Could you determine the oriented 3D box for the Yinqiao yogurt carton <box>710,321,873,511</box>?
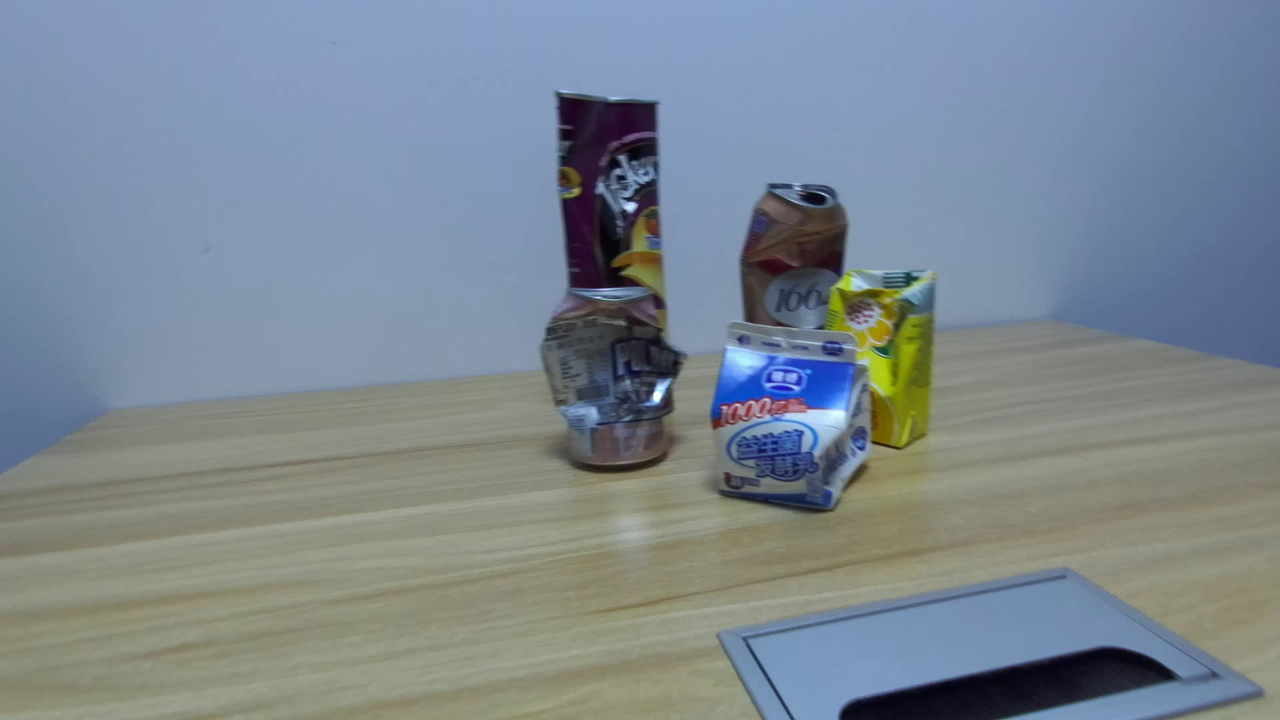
[{"bbox_3d":[0.083,0.025,0.386,0.074,0.097,0.080,4,24,25],"label":"Yinqiao yogurt carton"}]

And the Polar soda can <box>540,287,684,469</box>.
[{"bbox_3d":[-0.014,0.009,0.442,0.070,0.114,0.074,14,24,34],"label":"Polar soda can"}]

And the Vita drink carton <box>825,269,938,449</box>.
[{"bbox_3d":[0.154,-0.003,0.468,0.047,0.109,0.071,-11,16,-44],"label":"Vita drink carton"}]

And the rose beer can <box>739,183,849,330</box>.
[{"bbox_3d":[0.119,-0.050,0.549,0.069,0.168,0.069,8,20,26],"label":"rose beer can"}]

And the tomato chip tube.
[{"bbox_3d":[-0.017,-0.073,0.524,0.090,0.235,0.077,-4,15,-13],"label":"tomato chip tube"}]
